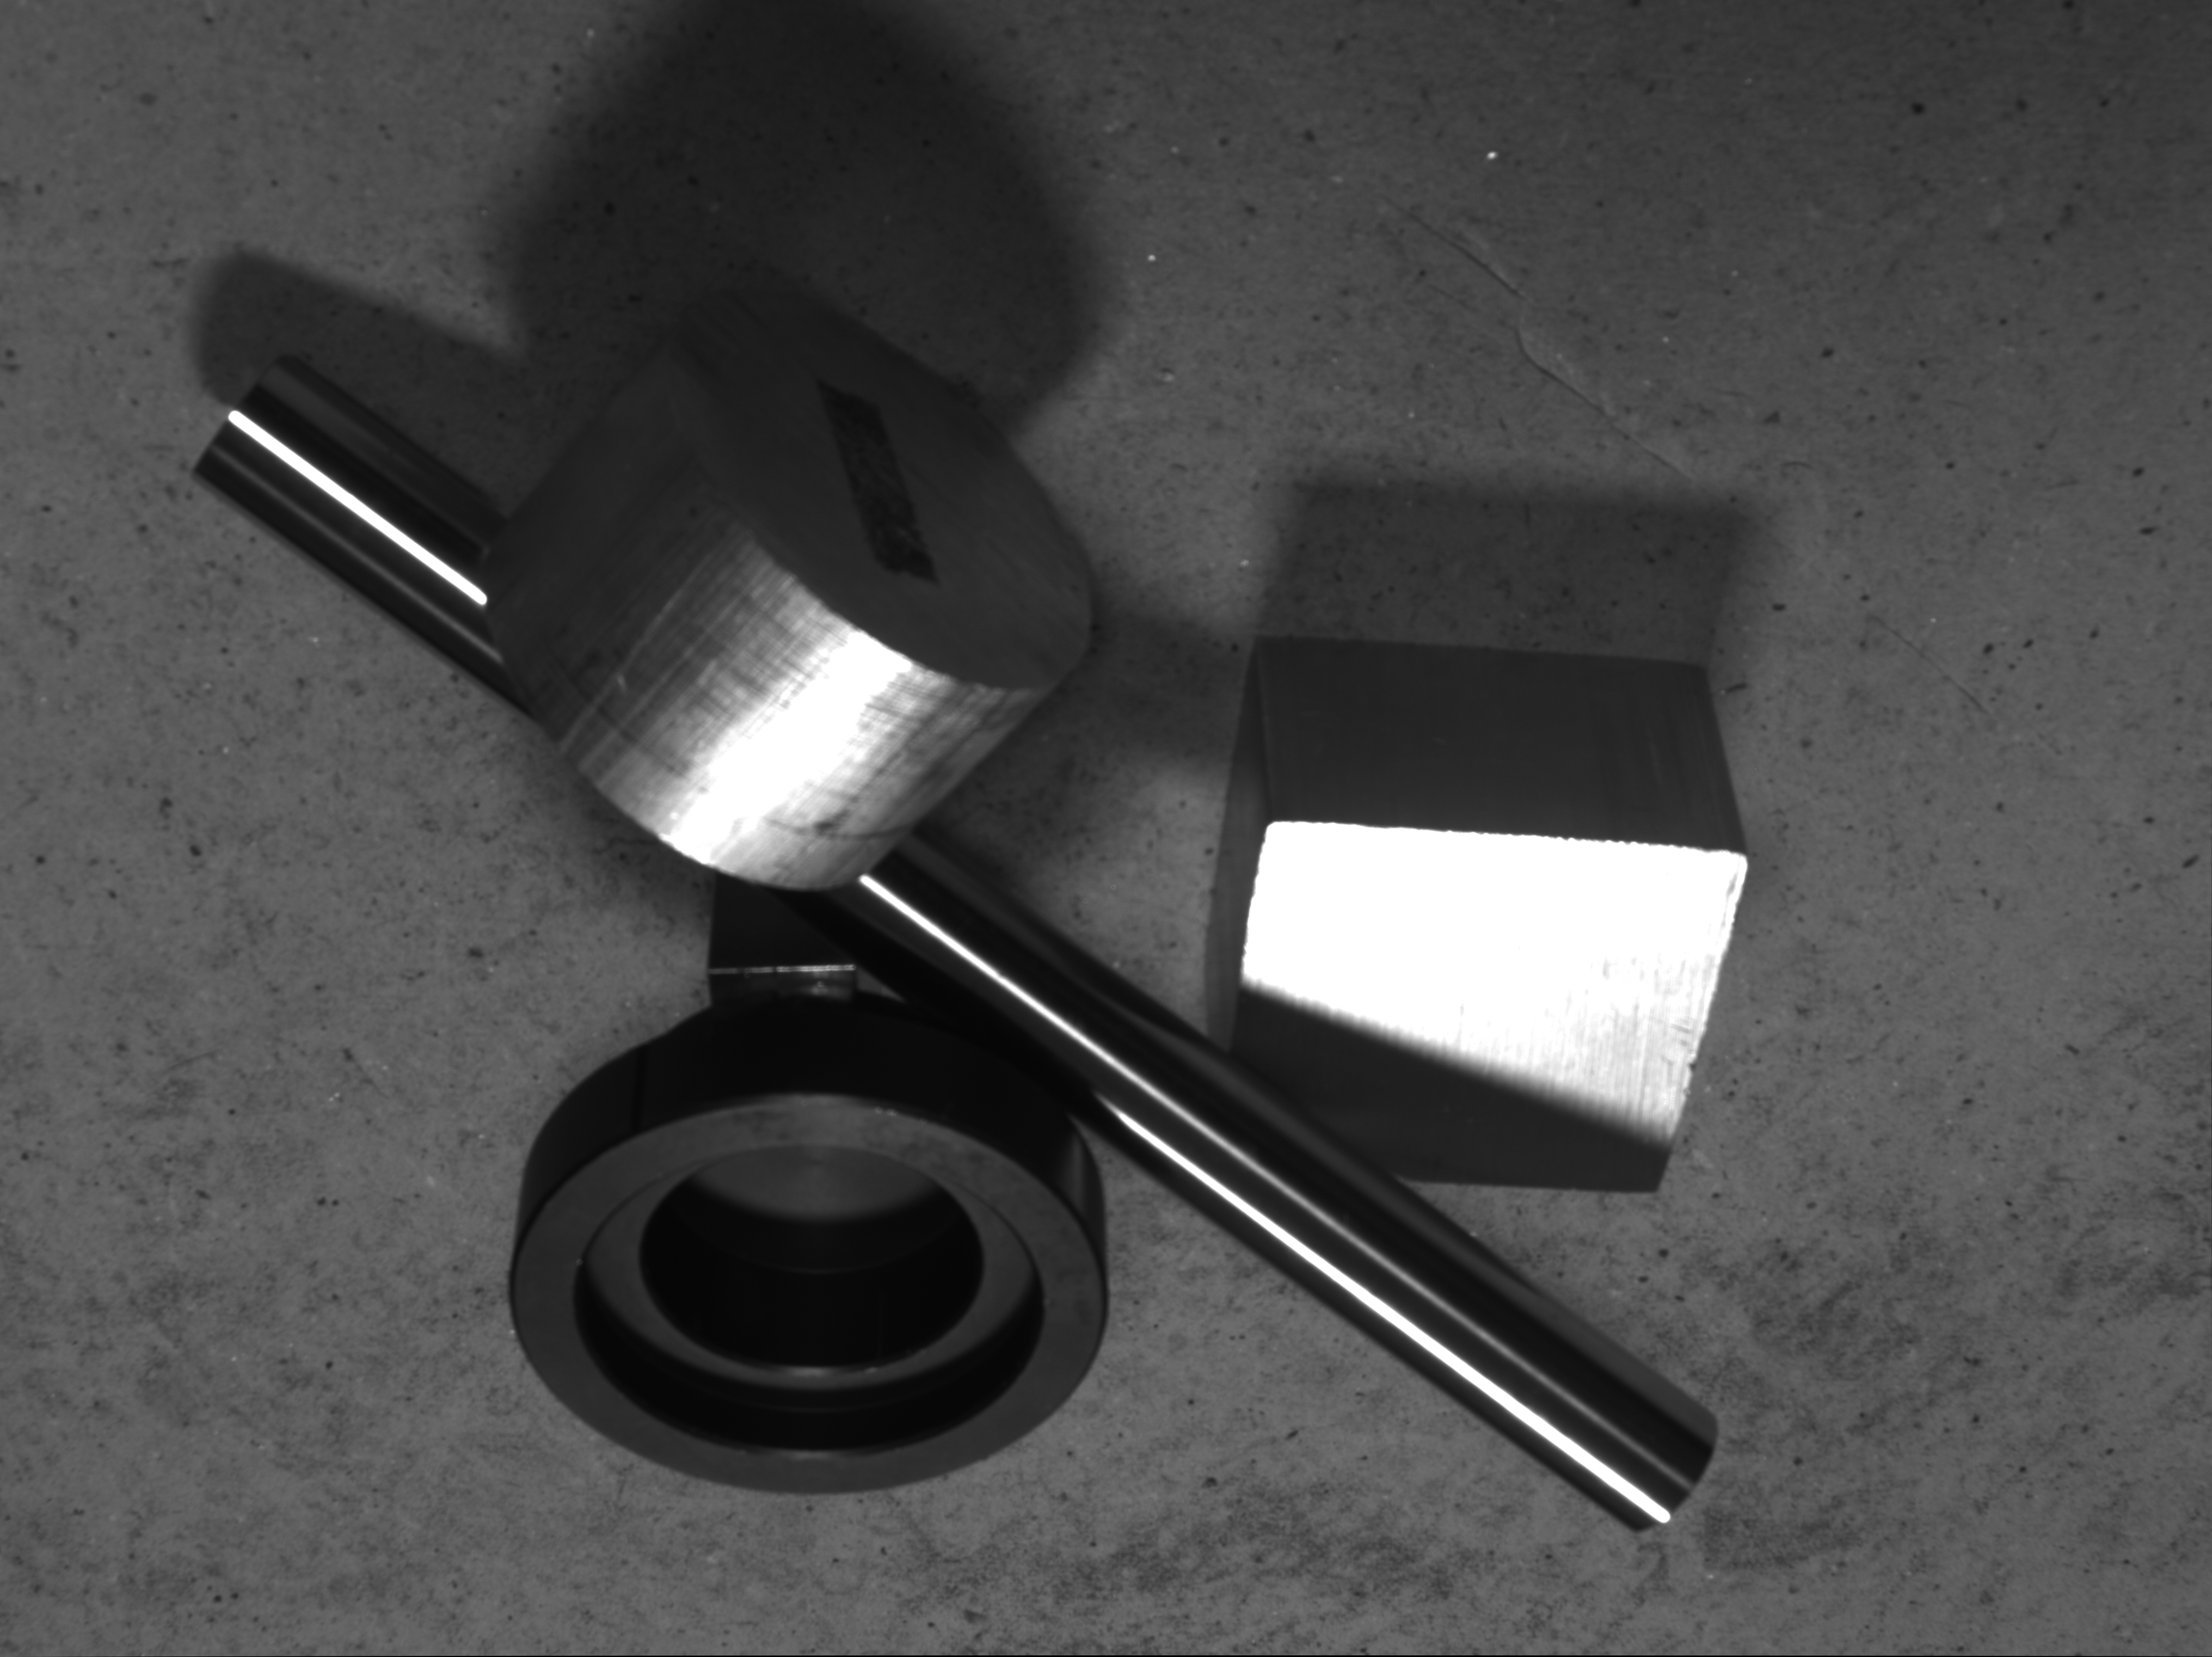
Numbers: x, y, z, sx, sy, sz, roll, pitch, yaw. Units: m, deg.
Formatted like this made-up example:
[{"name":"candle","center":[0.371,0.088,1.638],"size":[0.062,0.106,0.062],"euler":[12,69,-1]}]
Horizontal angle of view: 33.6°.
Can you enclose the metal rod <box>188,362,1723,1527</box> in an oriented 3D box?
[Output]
[{"name":"metal rod","center":[-0.019,0.024,0.609],"size":[0.300,0.025,0.025],"euler":[36,121,-11]}]

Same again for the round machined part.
[{"name":"round machined part","center":[-0.050,0.065,0.616],"size":[0.098,0.042,0.098],"euler":[-1,131,-1]}]

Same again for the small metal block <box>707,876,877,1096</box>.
[{"name":"small metal block","center":[-0.054,0.026,0.643],"size":[0.025,0.050,0.050],"euler":[-2,130,0]}]

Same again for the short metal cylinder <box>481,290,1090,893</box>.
[{"name":"short metal cylinder","center":[-0.049,-0.037,0.570],"size":[0.080,0.080,0.050],"euler":[31,123,-25]}]

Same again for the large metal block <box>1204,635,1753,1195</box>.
[{"name":"large metal block","center":[0.061,0.016,0.638],"size":[0.080,0.050,0.080],"euler":[3,130,-5]}]
